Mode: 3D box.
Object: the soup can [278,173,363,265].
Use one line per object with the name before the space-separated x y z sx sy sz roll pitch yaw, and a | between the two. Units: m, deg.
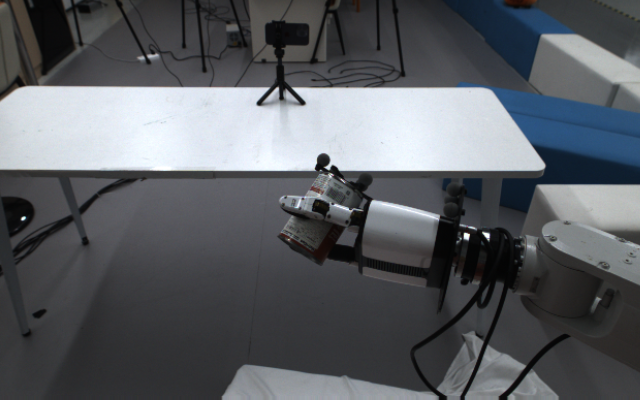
soup can | 0.003 0.023 0.619 0.067 0.067 0.101 27 78 31
